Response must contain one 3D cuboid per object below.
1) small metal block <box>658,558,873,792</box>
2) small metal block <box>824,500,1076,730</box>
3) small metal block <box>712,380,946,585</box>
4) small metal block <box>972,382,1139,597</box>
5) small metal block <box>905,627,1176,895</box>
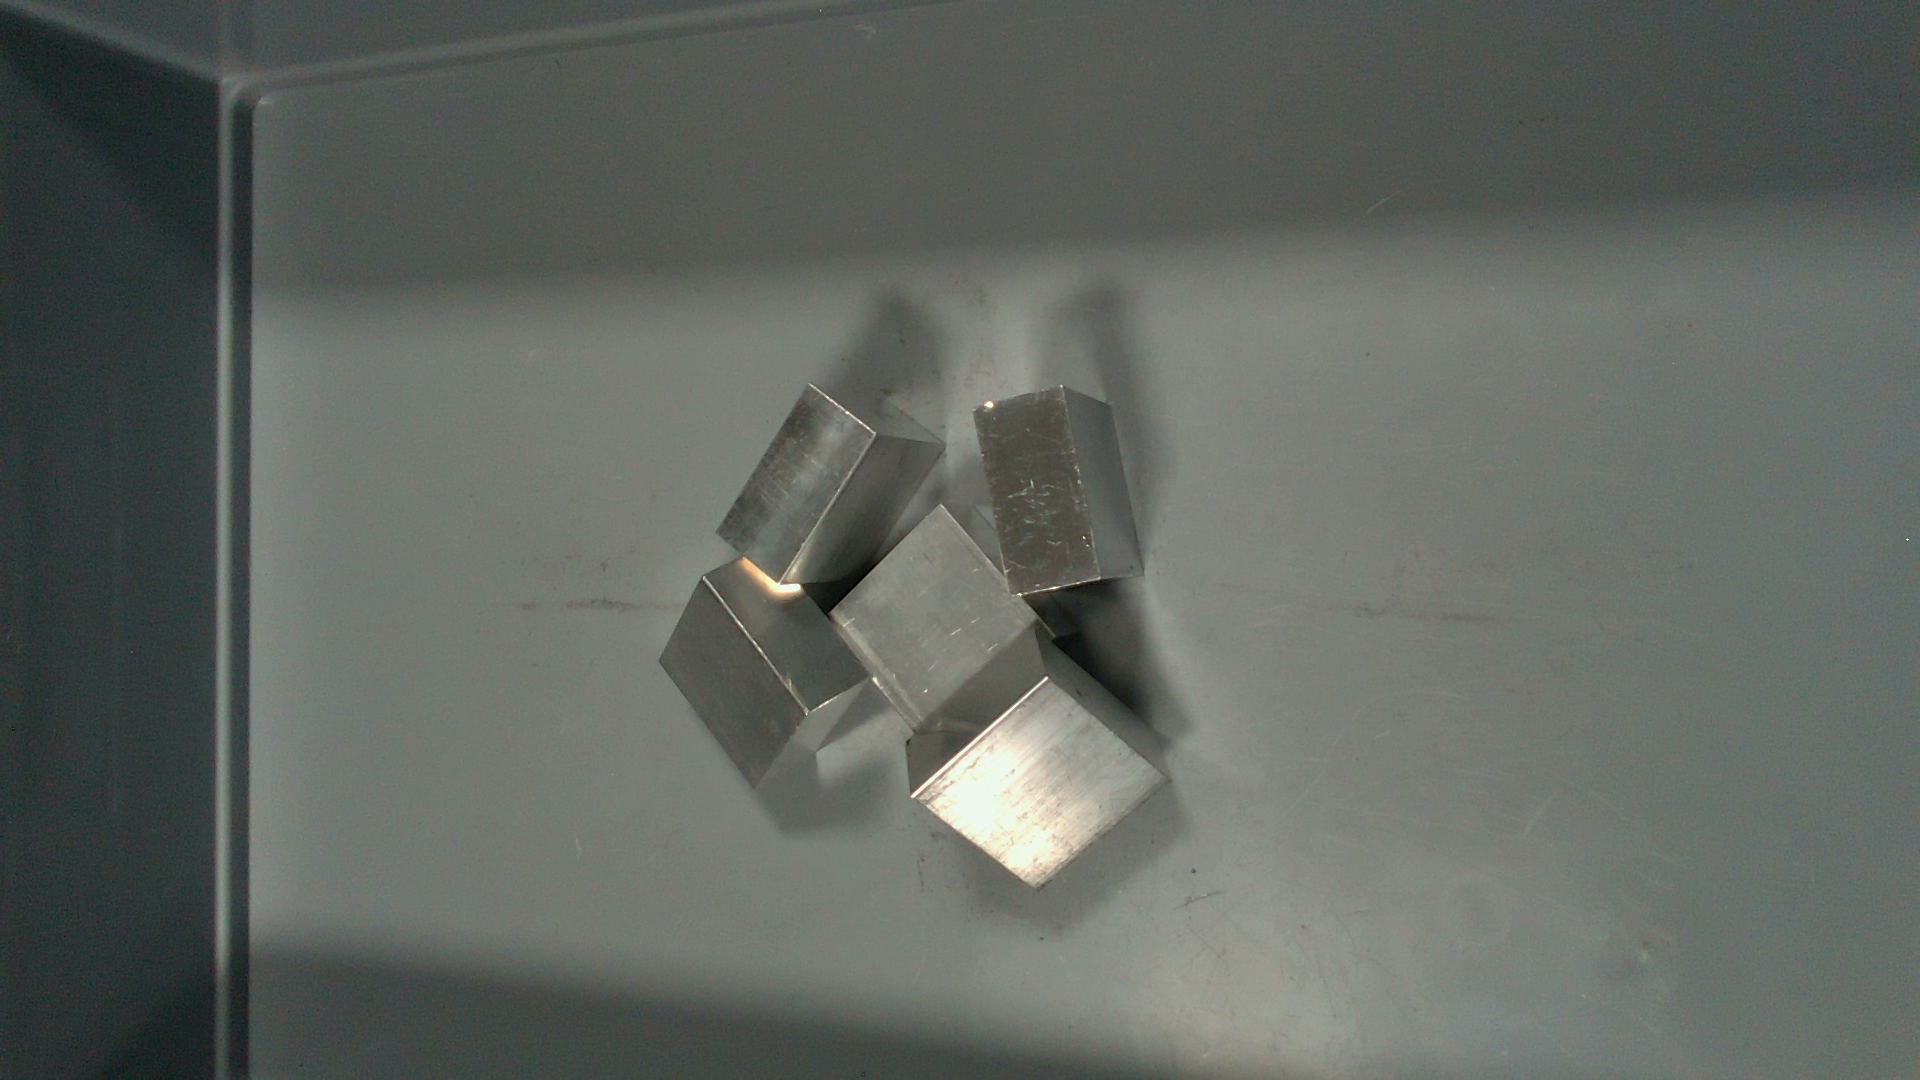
[{"bbox_3d":[-0.058,0.038,0.404,0.050,0.025,0.050,51,138,13],"label":"small metal block"},{"bbox_3d":[-0.003,0.024,0.395,0.050,0.025,0.050,-44,76,15],"label":"small metal block"},{"bbox_3d":[-0.036,-0.015,0.394,0.025,0.050,0.050,38,102,16],"label":"small metal block"},{"bbox_3d":[0.027,-0.012,0.371,0.025,0.050,0.050,-12,86,19],"label":"small metal block"},{"bbox_3d":[0.021,0.060,0.373,0.050,0.025,0.050,-43,113,15],"label":"small metal block"}]
